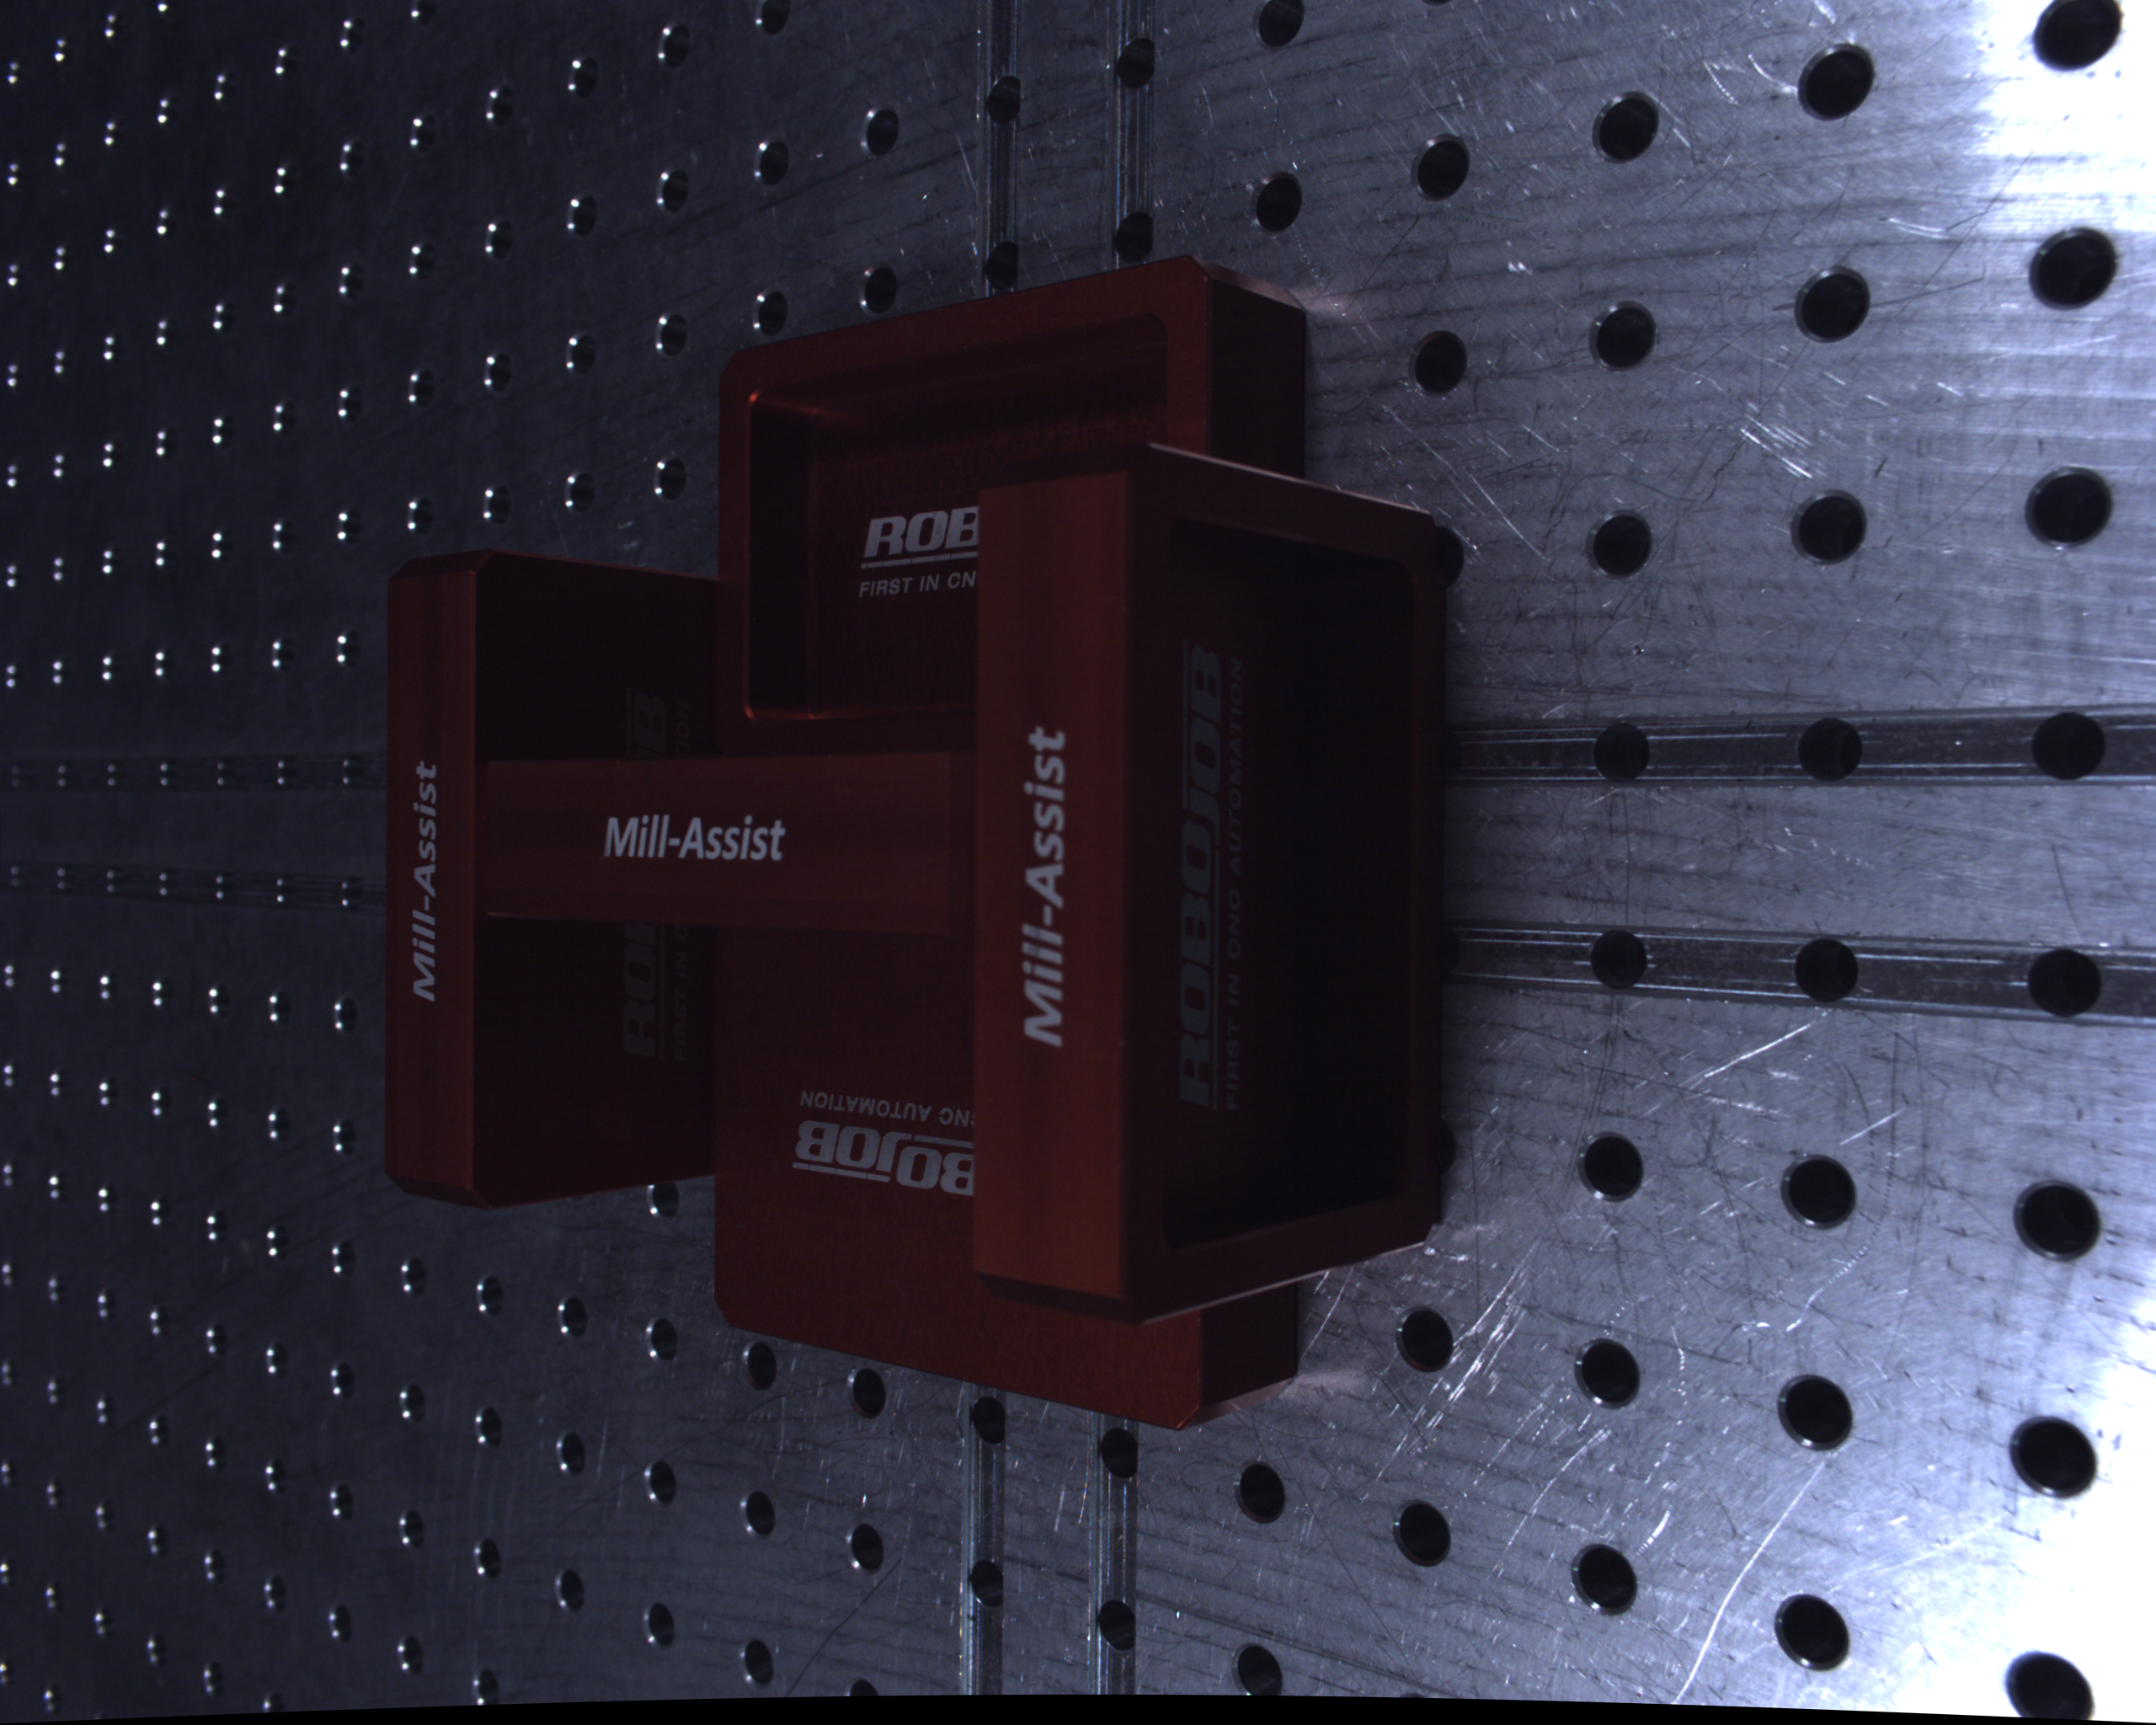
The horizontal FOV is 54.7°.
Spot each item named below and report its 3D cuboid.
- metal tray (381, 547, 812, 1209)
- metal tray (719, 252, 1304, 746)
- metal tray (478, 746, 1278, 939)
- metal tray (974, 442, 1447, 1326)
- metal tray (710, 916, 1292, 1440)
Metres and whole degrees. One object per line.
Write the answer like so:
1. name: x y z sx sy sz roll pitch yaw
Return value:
1. metal tray: -0.100 0.003 0.446 0.030 0.091 0.129 1 91 40
2. metal tray: -0.018 -0.064 0.418 0.130 0.030 0.089 1 91 39
3. metal tray: -0.039 -0.004 0.395 0.130 0.091 0.030 1 91 39
4. metal tray: 0.025 0.003 0.344 0.030 0.091 0.129 1 91 40
5. metal tray: -0.020 0.057 0.418 0.130 0.030 0.089 1 91 39
